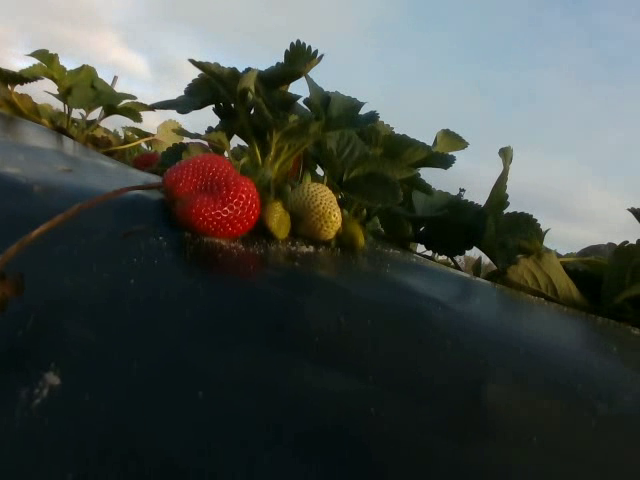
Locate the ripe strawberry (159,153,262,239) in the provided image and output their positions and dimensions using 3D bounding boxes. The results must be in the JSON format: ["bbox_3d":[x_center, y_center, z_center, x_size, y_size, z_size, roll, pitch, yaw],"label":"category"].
[{"bbox_3d":[-0.055,-0.028,0.303,0.047,0.035,0.050,19,25,28],"label":"ripe strawberry"}]
